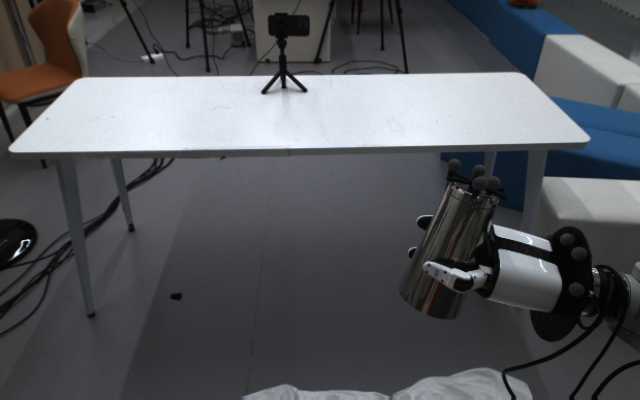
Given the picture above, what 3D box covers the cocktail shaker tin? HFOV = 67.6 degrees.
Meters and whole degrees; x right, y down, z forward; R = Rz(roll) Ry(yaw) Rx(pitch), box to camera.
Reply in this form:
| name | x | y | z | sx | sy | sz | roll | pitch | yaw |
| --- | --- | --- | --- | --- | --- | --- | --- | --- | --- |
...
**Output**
| name | x | y | z | sx | sy | sz | roll | pitch | yaw |
| --- | --- | --- | --- | --- | --- | --- | --- | --- | --- |
| cocktail shaker tin | 0.180 | 0.063 | 0.658 | 0.093 | 0.170 | 0.093 | 14 | 19 | -5 |
